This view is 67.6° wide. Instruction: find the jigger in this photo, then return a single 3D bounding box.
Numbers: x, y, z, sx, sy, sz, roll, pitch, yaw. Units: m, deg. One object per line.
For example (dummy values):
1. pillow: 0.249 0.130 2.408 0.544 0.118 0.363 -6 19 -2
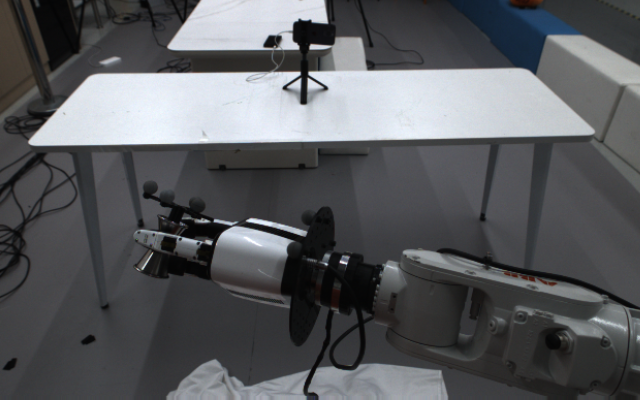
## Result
1. jigger: -0.191 0.054 0.584 0.043 0.071 0.043 24 -2 1
